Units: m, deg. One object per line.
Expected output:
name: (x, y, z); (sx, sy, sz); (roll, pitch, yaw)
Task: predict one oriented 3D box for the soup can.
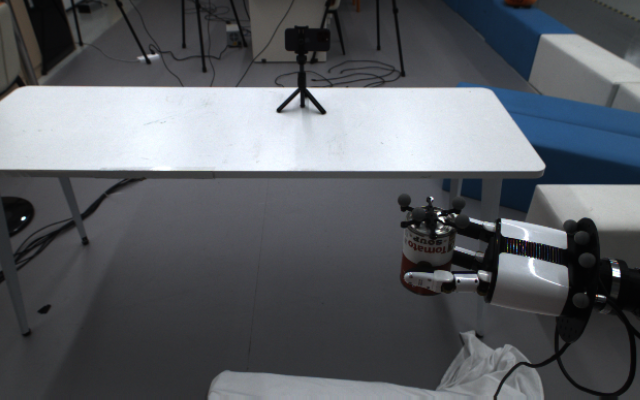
soup can: (0.146, 0.066, 0.647); (0.067, 0.101, 0.067); (-2, 34, 1)
